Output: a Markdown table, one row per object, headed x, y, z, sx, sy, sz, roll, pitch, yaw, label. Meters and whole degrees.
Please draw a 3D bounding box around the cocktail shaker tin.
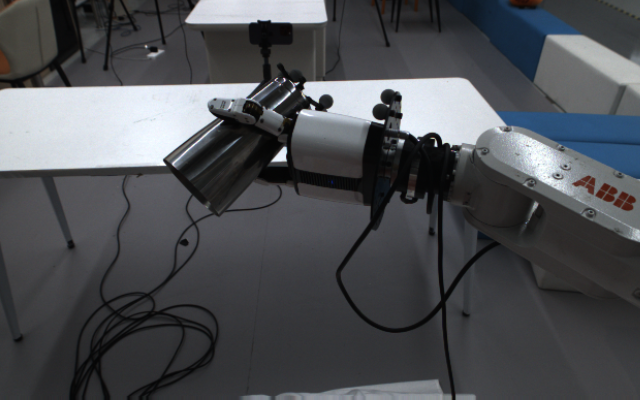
| x | y | z | sx | sy | sz | roll | pitch | yaw | label |
| --- | --- | --- | --- | --- | --- | --- | --- | --- | --- |
| -0.091 | -0.074 | 0.584 | 0.170 | 0.093 | 0.093 | -43 | 50 | -15 | cocktail shaker tin |
